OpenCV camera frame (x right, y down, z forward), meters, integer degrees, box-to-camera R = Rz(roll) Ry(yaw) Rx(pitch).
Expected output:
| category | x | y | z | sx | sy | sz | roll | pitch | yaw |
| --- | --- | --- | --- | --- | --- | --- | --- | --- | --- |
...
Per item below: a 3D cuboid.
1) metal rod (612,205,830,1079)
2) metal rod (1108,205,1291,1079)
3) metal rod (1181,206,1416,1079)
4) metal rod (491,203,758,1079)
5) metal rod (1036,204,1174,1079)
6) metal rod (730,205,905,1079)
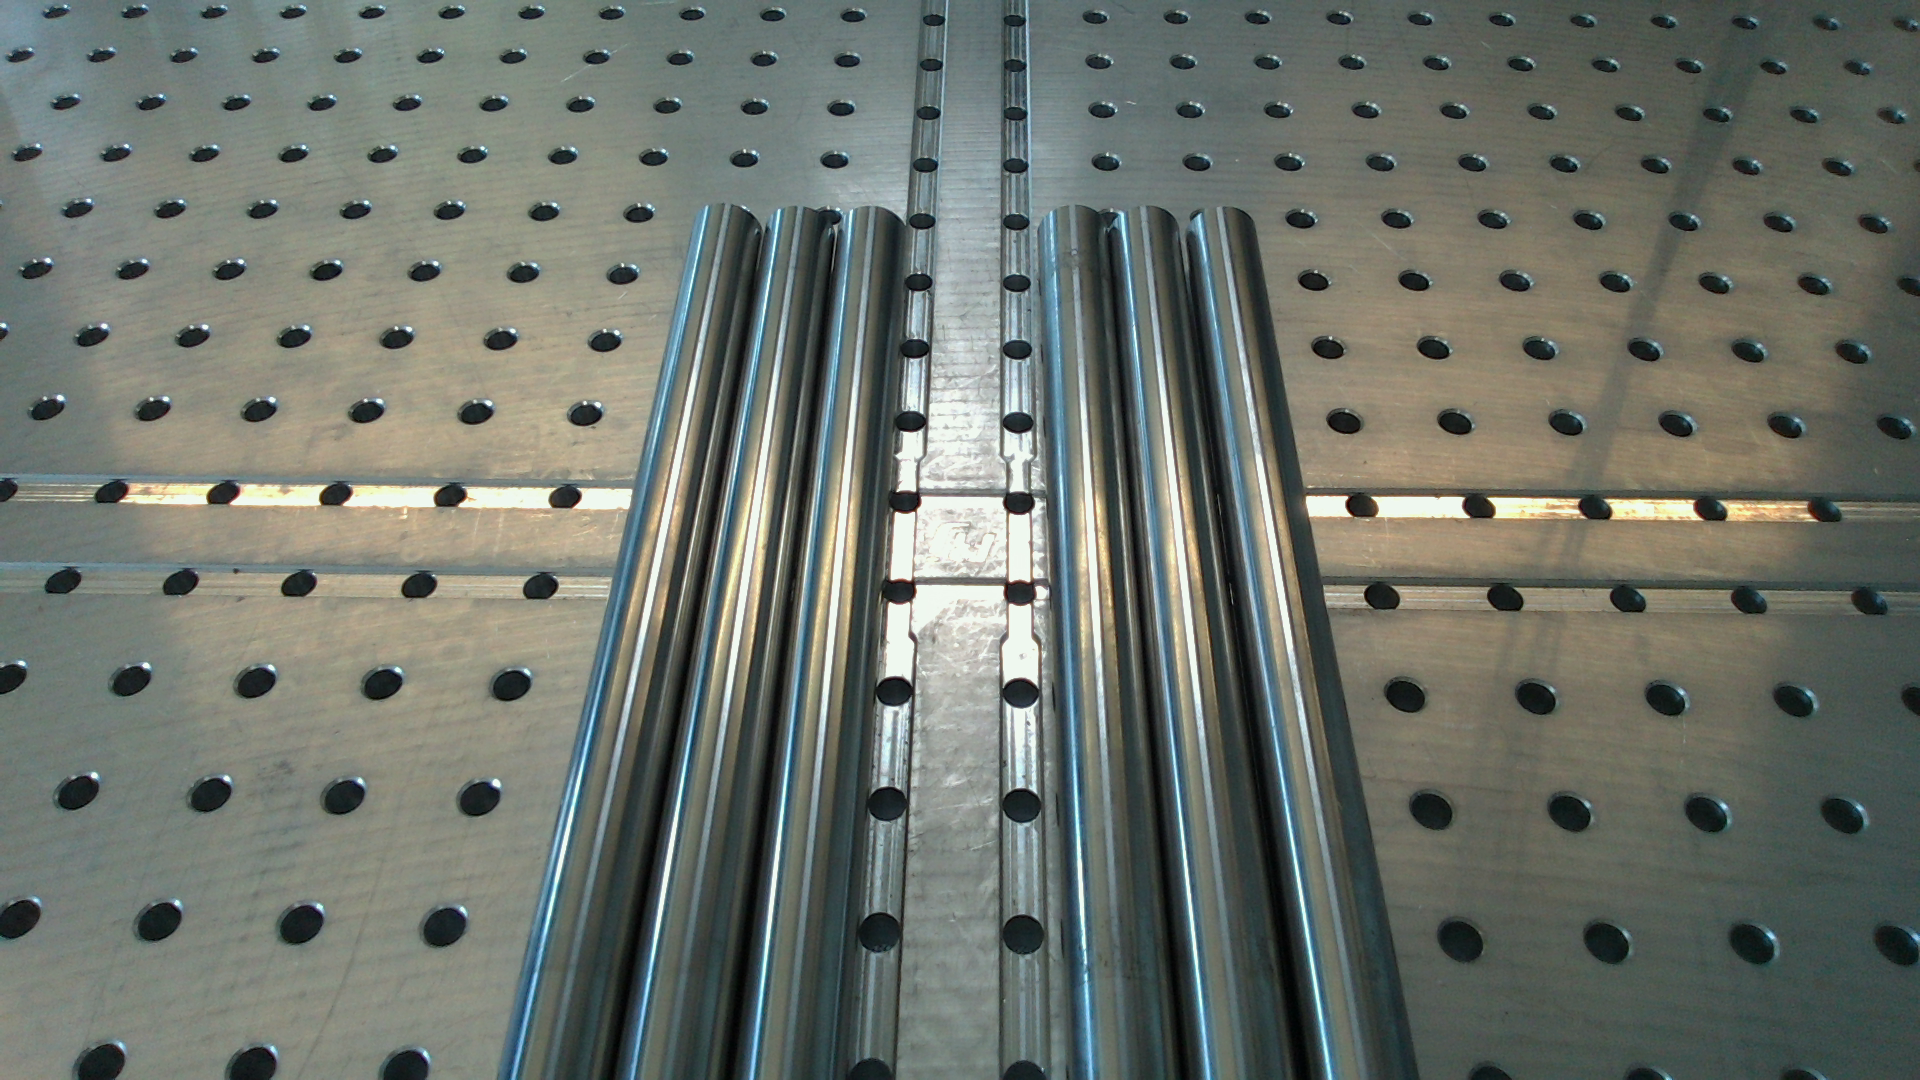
| category | x | y | z | sx | sy | sz | roll | pitch | yaw |
| --- | --- | --- | --- | --- | --- | --- | --- | --- | --- |
| metal rod | -0.060 | 0.007 | 0.388 | 0.025 | 0.025 | 0.300 | 1 | 50 | 1 |
| metal rod | 0.061 | 0.007 | 0.388 | 0.025 | 0.025 | 0.300 | 1 | 50 | 1 |
| metal rod | 0.088 | 0.007 | 0.388 | 0.025 | 0.025 | 0.300 | 1 | 50 | 1 |
| metal rod | -0.085 | 0.006 | 0.388 | 0.025 | 0.025 | 0.300 | 1 | 50 | 1 |
| metal rod | 0.036 | 0.006 | 0.388 | 0.025 | 0.025 | 0.300 | 1 | 50 | 1 |
| metal rod | -0.035 | 0.007 | 0.388 | 0.025 | 0.025 | 0.300 | 1 | 50 | 1 |
